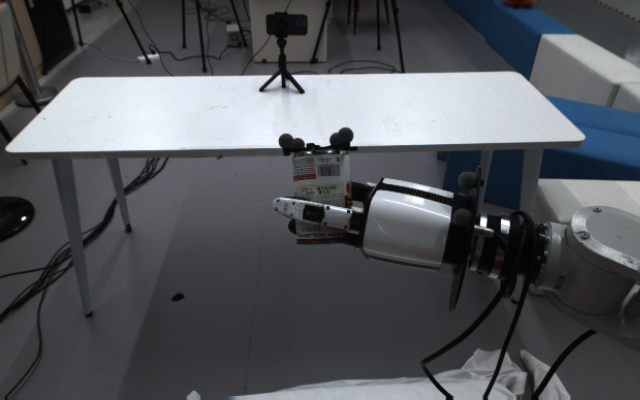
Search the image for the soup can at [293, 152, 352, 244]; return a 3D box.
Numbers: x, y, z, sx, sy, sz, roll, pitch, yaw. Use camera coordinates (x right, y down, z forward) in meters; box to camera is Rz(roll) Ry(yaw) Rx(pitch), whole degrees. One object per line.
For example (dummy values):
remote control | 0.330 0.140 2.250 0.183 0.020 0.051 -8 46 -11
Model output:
soup can | 0.006 -0.002 0.551 0.067 0.101 0.067 -3 -1 0
